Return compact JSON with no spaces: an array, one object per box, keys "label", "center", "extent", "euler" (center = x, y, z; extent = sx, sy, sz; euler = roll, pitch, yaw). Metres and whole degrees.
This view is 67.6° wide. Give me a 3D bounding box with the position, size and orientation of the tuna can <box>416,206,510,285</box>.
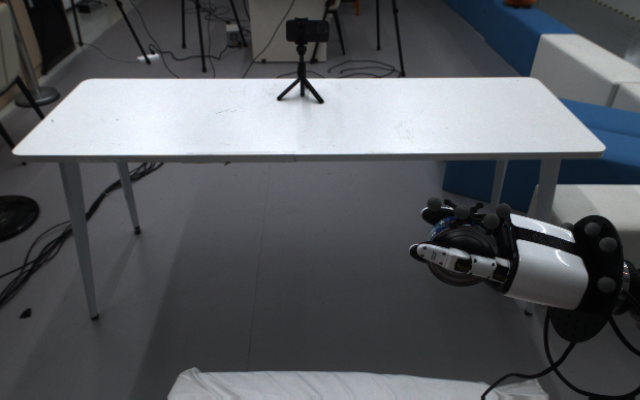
[{"label":"tuna can","center":[0.177,0.061,0.600],"extent":[0.085,0.085,0.034],"euler":[7,22,7]}]
